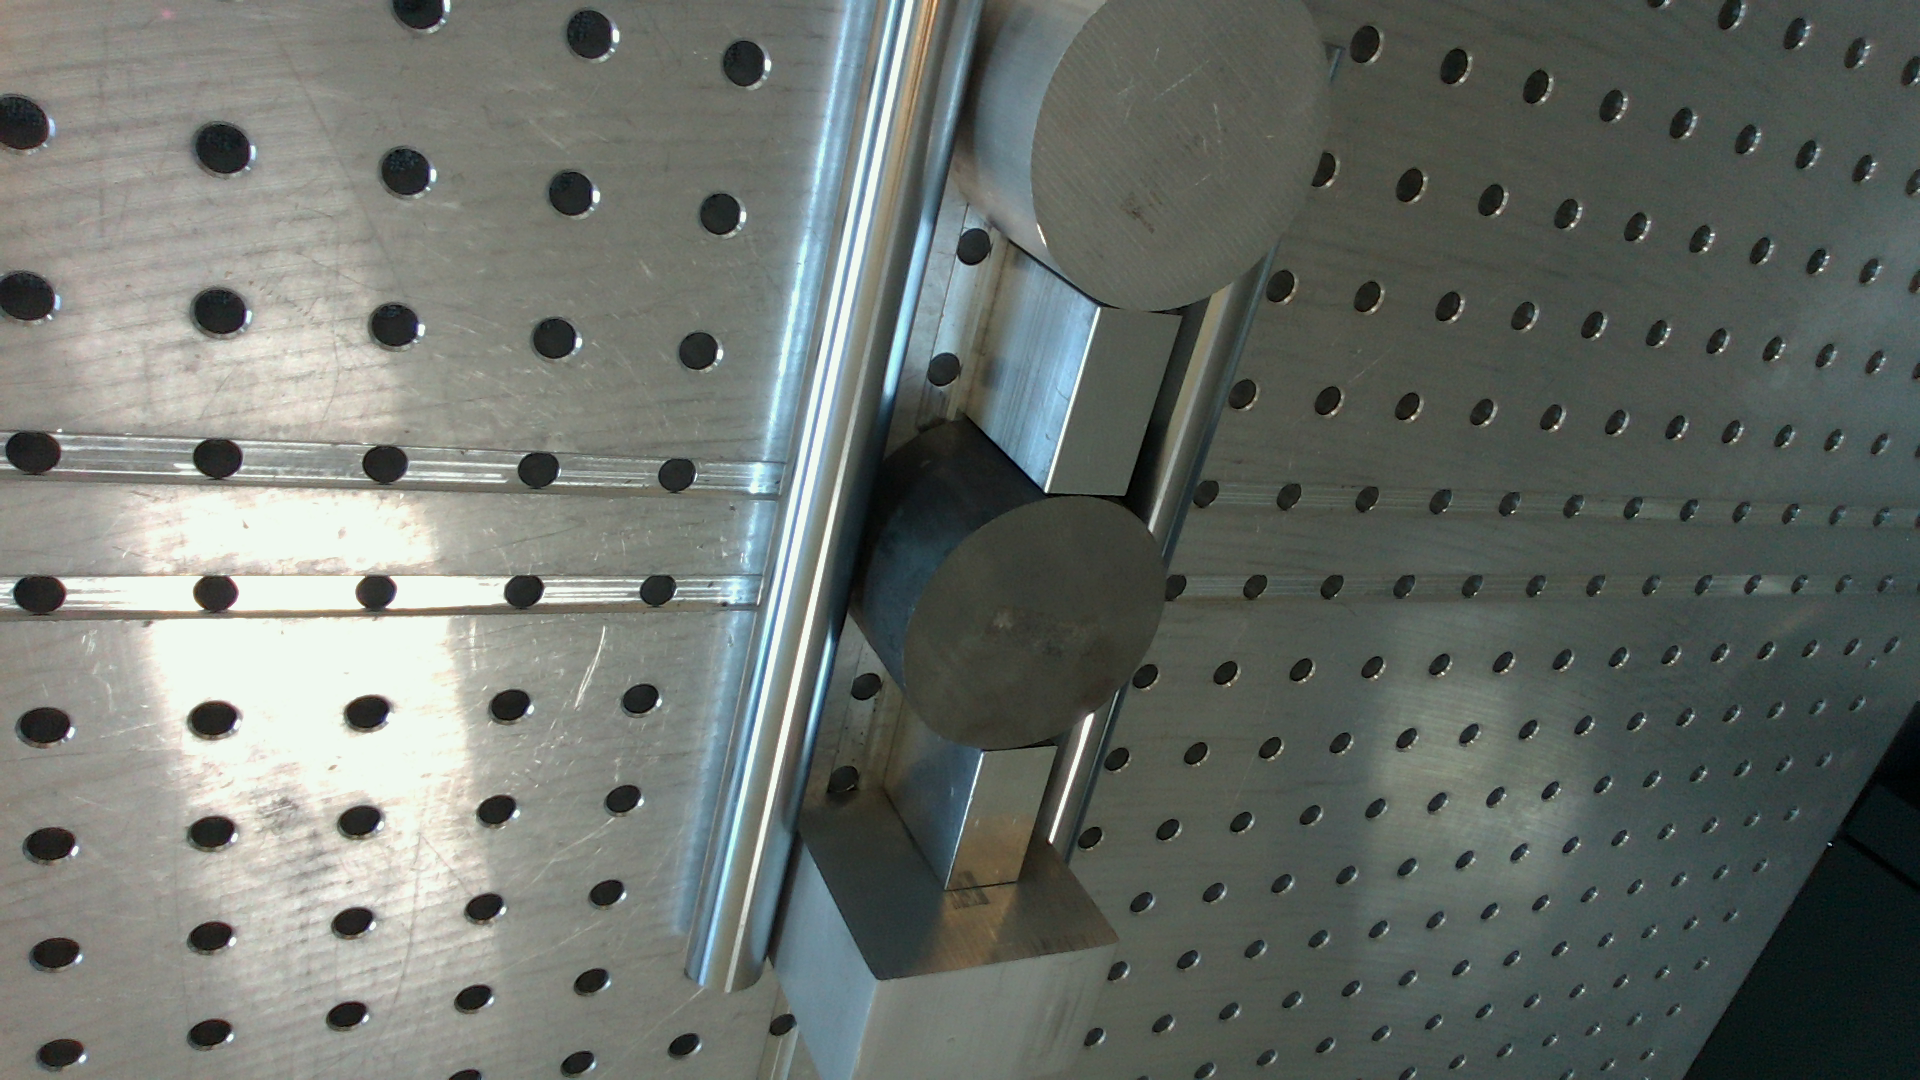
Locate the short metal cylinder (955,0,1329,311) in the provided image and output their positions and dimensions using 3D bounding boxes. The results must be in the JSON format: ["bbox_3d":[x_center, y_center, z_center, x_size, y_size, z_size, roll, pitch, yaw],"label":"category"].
[{"bbox_3d":[0.041,-0.102,0.335,0.080,0.050,0.080,-14,124,-21],"label":"short metal cylinder"}]

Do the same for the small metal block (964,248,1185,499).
[{"bbox_3d":[0.028,-0.045,0.362,0.025,0.050,0.050,1,118,-29],"label":"small metal block"}]

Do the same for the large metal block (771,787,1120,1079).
[{"bbox_3d":[-0.011,0.121,0.425,0.080,0.080,0.050,1,118,-29],"label":"large metal block"}]

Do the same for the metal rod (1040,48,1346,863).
[{"bbox_3d":[0.054,0.001,0.421,0.025,0.025,0.300,1,118,-29],"label":"metal rod"}]

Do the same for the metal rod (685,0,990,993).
[{"bbox_3d":[-0.039,0.001,0.371,0.025,0.025,0.300,1,118,-29],"label":"metal rod"}]

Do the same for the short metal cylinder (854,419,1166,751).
[{"bbox_3d":[0.011,0.012,0.389,0.080,0.050,0.080,-14,124,-21],"label":"short metal cylinder"}]

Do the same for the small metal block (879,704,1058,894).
[{"bbox_3d":[0.001,0.070,0.419,0.025,0.050,0.050,0,118,-28],"label":"small metal block"}]
